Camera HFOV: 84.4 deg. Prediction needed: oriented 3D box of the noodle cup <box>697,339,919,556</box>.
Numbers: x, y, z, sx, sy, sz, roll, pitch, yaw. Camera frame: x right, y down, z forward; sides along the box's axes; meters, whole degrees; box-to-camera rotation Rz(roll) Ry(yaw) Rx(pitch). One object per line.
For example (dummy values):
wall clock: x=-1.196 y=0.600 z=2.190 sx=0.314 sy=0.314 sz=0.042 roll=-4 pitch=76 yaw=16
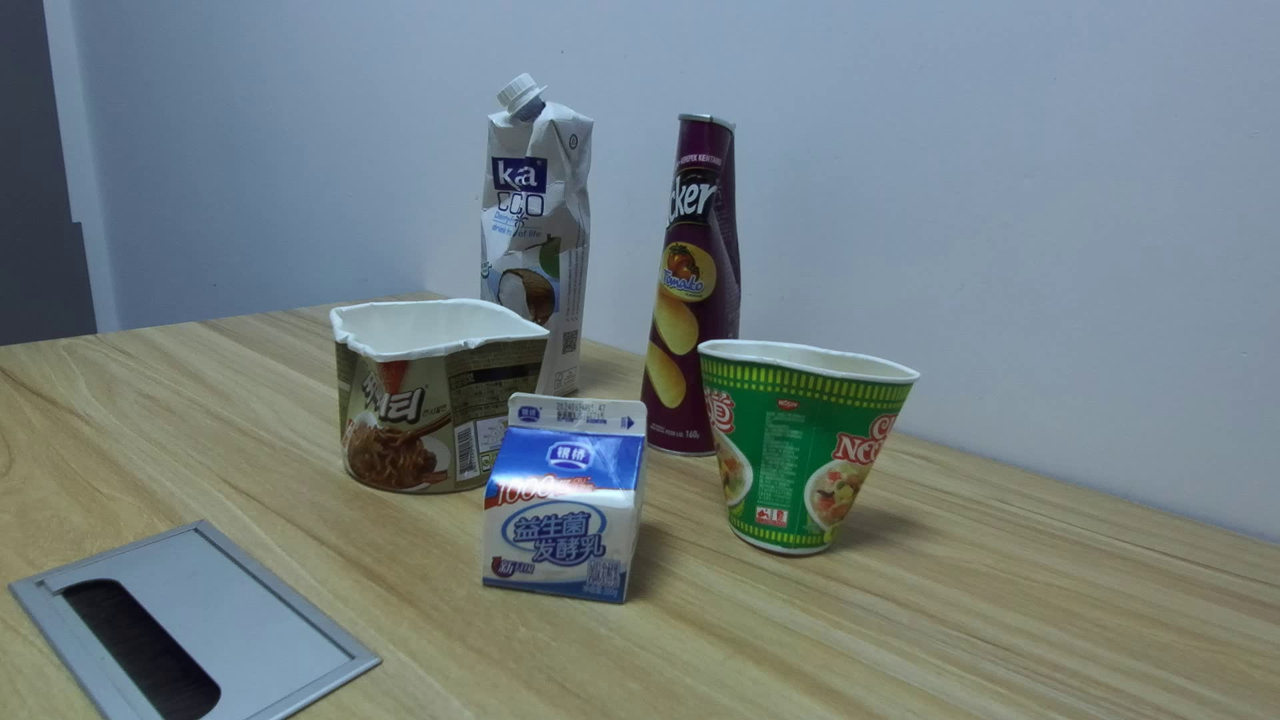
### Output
noodle cup: x=0.088 y=0.047 z=0.409 sx=0.114 sy=0.111 sz=0.070 roll=17 pitch=23 yaw=30

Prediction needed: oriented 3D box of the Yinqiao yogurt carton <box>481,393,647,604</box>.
Yinqiao yogurt carton: x=-0.035 y=0.061 z=0.365 sx=0.075 sy=0.092 sz=0.074 roll=6 pitch=18 yaw=4

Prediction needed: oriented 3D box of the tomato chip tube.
tomato chip tube: x=0.045 y=-0.052 z=0.514 sx=0.078 sy=0.235 sz=0.076 roll=-4 pitch=18 yaw=-32

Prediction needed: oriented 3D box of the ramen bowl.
ramen bowl: x=-0.145 y=0.016 z=0.471 sx=0.133 sy=0.097 sz=0.114 roll=20 pitch=25 yaw=36

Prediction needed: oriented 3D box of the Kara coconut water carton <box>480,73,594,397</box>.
Kara coconut water carton: x=-0.088 y=-0.095 z=0.578 sx=0.083 sy=0.255 sz=0.079 roll=20 pitch=25 yaw=37
